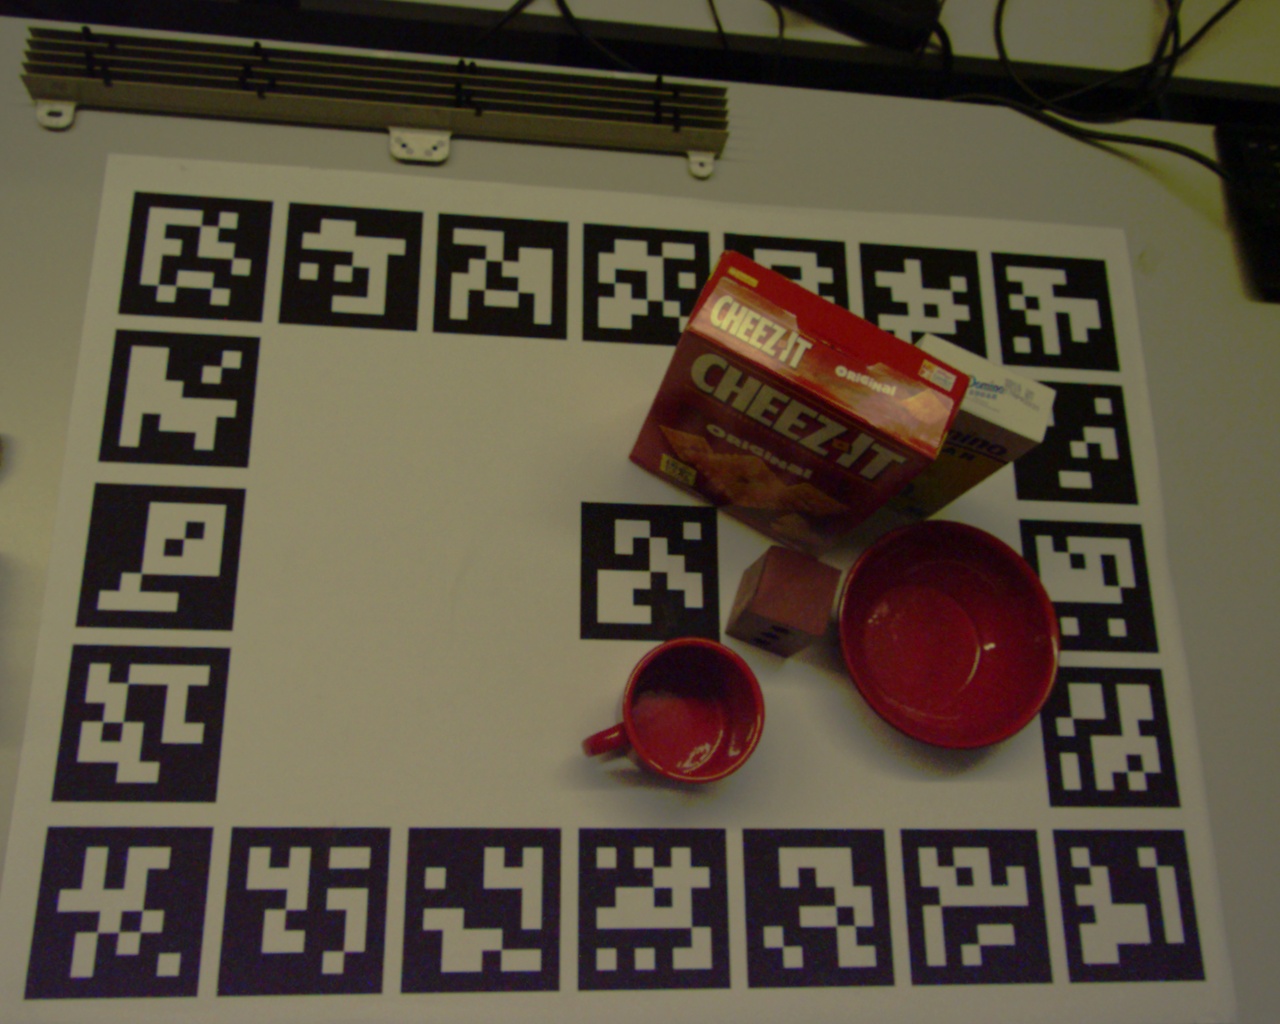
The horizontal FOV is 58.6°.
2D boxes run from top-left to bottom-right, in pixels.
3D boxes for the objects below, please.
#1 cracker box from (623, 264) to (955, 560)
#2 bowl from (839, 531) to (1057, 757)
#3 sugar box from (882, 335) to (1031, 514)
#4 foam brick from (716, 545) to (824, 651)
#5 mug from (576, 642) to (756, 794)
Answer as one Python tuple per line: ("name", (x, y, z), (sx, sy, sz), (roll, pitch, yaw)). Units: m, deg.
("cracker box", (0.089, -0.054, 0.785), (0.164, 0.214, 0.072), (31, 69, 0))
("bowl", (0.215, 0.098, 0.830), (0.161, 0.055, 0.162), (2, 74, -8))
("sugar box", (0.195, -0.057, 0.820), (0.093, 0.177, 0.045), (23, 71, -2))
("foam brick", (0.093, 0.064, 0.826), (0.052, 0.078, 0.051), (17, 71, -3))
("mug", (0.014, 0.147, 0.779), (0.117, 0.081, 0.094), (-7, 67, -9))
